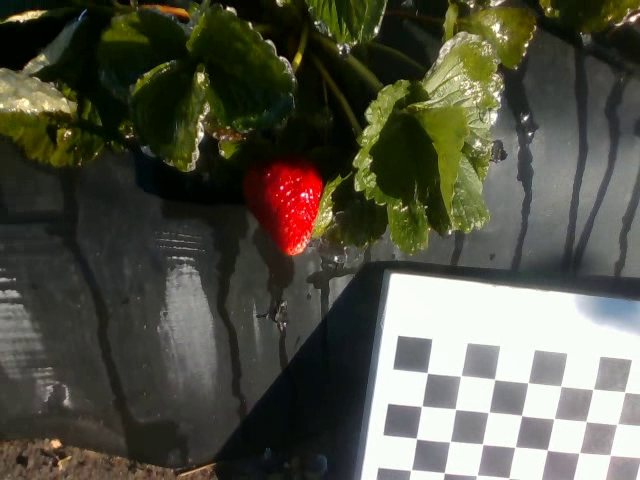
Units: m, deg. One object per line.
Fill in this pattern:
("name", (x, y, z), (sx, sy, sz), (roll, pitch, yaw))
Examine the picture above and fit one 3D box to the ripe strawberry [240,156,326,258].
("ripe strawberry", (-0.016, -0.015, 0.264), (0.041, 0.053, 0.047), (0, -28, -5))
